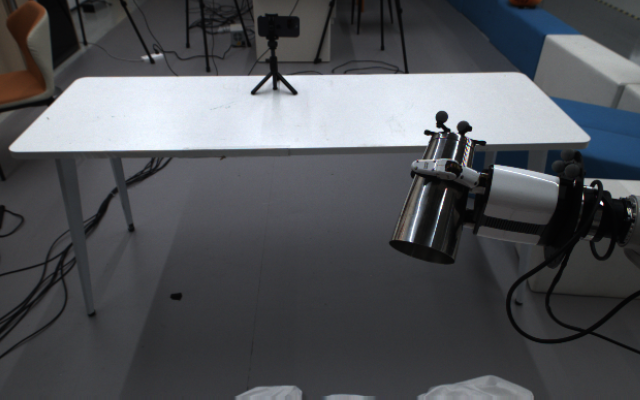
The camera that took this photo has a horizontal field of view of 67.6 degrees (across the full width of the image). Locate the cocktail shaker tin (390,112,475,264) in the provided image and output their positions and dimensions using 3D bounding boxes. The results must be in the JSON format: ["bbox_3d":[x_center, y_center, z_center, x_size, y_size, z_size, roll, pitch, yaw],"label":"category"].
[{"bbox_3d":[0.166,-0.006,0.677,0.093,0.093,0.170,15,75,18],"label":"cocktail shaker tin"}]
